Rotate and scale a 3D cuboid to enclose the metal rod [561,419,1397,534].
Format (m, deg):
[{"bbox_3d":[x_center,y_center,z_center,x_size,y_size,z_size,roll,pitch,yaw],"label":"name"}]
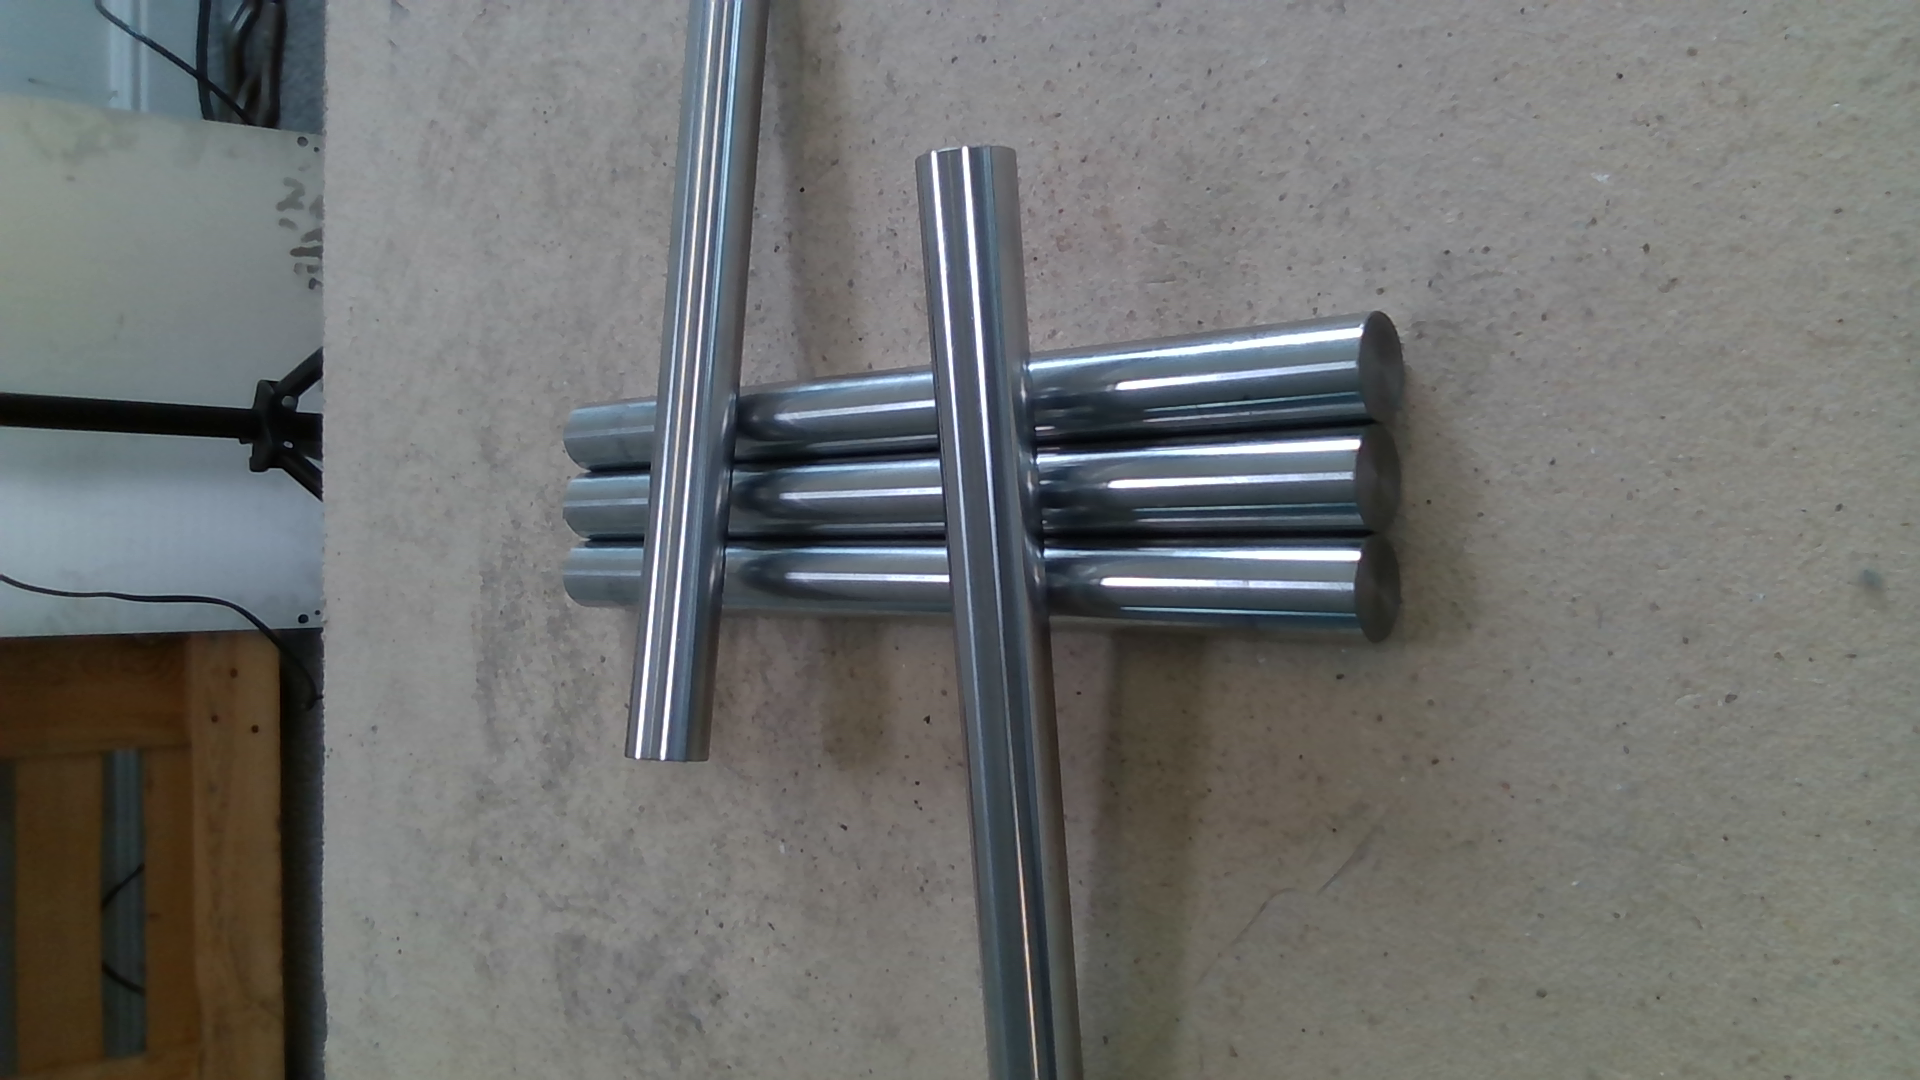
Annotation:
[{"bbox_3d":[-0.021,-0.014,0.408,0.300,0.025,0.025,0,90,40],"label":"metal rod"}]

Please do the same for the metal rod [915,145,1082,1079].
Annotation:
[{"bbox_3d":[0.013,0.054,0.355,0.025,0.025,0.300,1,99,40],"label":"metal rod"}]

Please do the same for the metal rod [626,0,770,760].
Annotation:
[{"bbox_3d":[-0.079,-0.083,0.432,0.025,0.025,0.300,-1,82,40],"label":"metal rod"}]

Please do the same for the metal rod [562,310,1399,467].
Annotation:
[{"bbox_3d":[-0.021,-0.039,0.407,0.300,0.025,0.025,0,90,40],"label":"metal rod"}]

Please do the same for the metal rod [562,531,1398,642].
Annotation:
[{"bbox_3d":[-0.021,0.011,0.408,0.300,0.025,0.025,0,90,40],"label":"metal rod"}]
